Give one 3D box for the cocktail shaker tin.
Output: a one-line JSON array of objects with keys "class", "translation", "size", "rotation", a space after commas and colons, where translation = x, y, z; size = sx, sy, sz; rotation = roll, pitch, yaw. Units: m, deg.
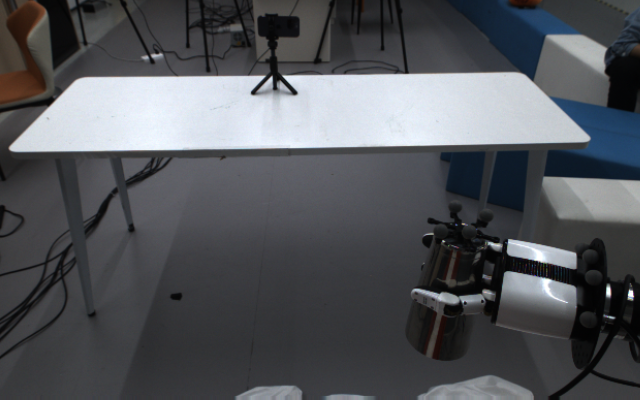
[{"class": "cocktail shaker tin", "translation": [0.174, 0.117, 0.646], "size": [0.093, 0.170, 0.093], "rotation": [3, 30, -2]}]
